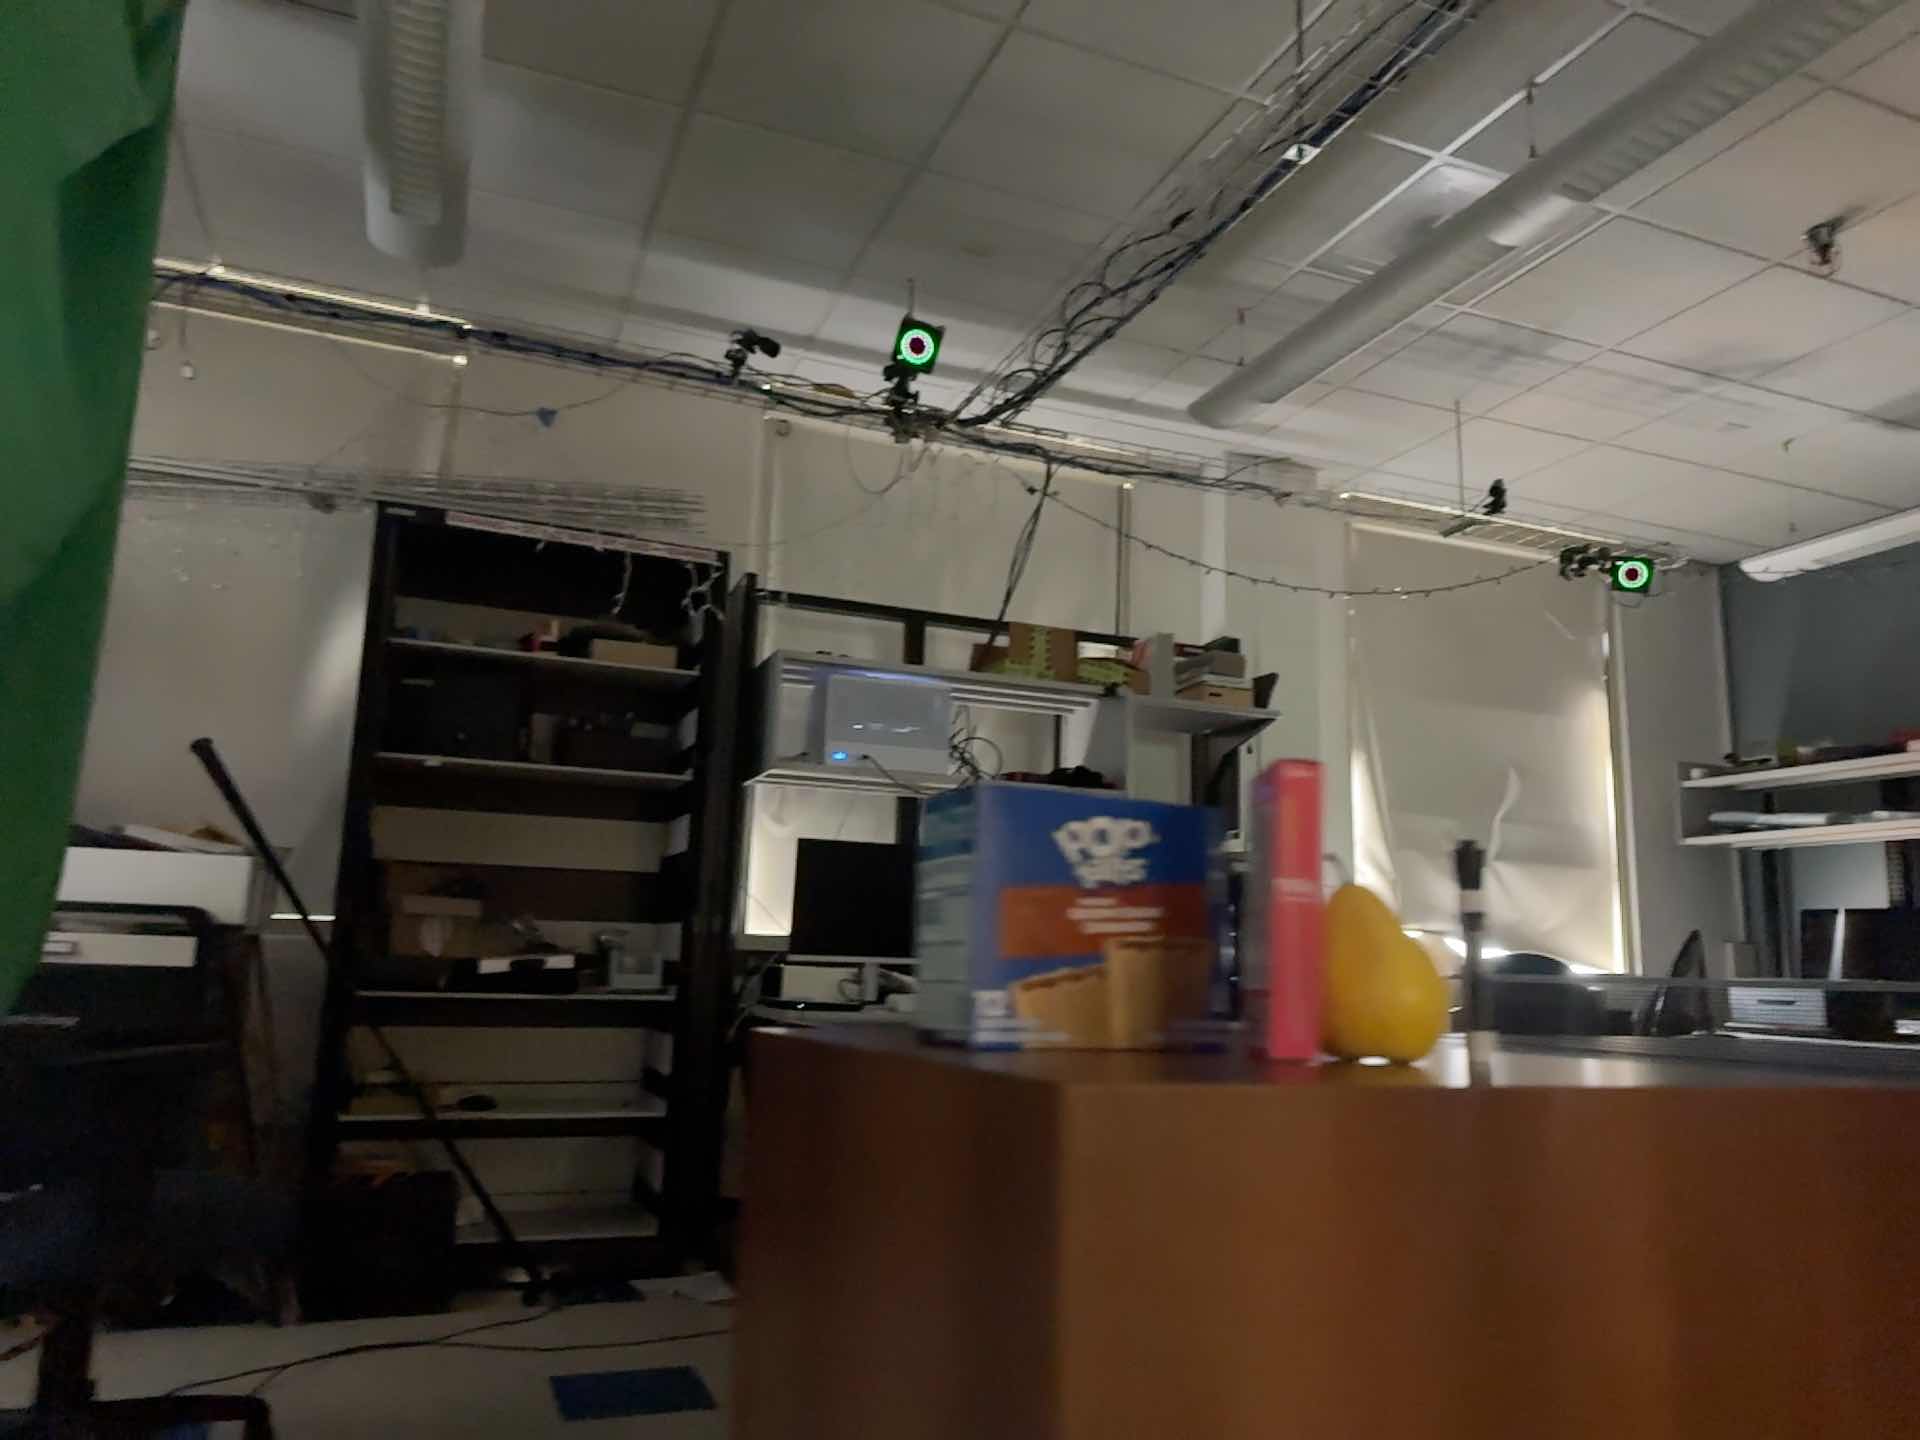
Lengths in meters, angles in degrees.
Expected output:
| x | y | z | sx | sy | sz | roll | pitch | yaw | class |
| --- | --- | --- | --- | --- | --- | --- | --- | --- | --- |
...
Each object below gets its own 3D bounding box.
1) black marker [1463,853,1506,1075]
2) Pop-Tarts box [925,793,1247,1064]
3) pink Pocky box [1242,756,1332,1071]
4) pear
| x | y | z | sx | sy | sz | roll | pitch | yaw | class |
| --- | --- | --- | --- | --- | --- | --- | --- | --- | --- |
| 0.292 | 0.135 | 0.750 | 0.020 | 0.121 | 0.020 | 2 | -9 | 0 | black marker |
| 0.071 | 0.120 | 0.762 | 0.161 | 0.135 | 0.075 | 7 | -12 | -24 | Pop-Tarts box |
| 0.170 | 0.100 | 0.703 | 0.029 | 0.155 | 0.084 | 3 | -9 | 1 | pink Pocky box |
| 0.222 | 0.127 | 0.714 | 0.080 | 0.111 | 0.080 | 1 | -11 | 0 | pear |
